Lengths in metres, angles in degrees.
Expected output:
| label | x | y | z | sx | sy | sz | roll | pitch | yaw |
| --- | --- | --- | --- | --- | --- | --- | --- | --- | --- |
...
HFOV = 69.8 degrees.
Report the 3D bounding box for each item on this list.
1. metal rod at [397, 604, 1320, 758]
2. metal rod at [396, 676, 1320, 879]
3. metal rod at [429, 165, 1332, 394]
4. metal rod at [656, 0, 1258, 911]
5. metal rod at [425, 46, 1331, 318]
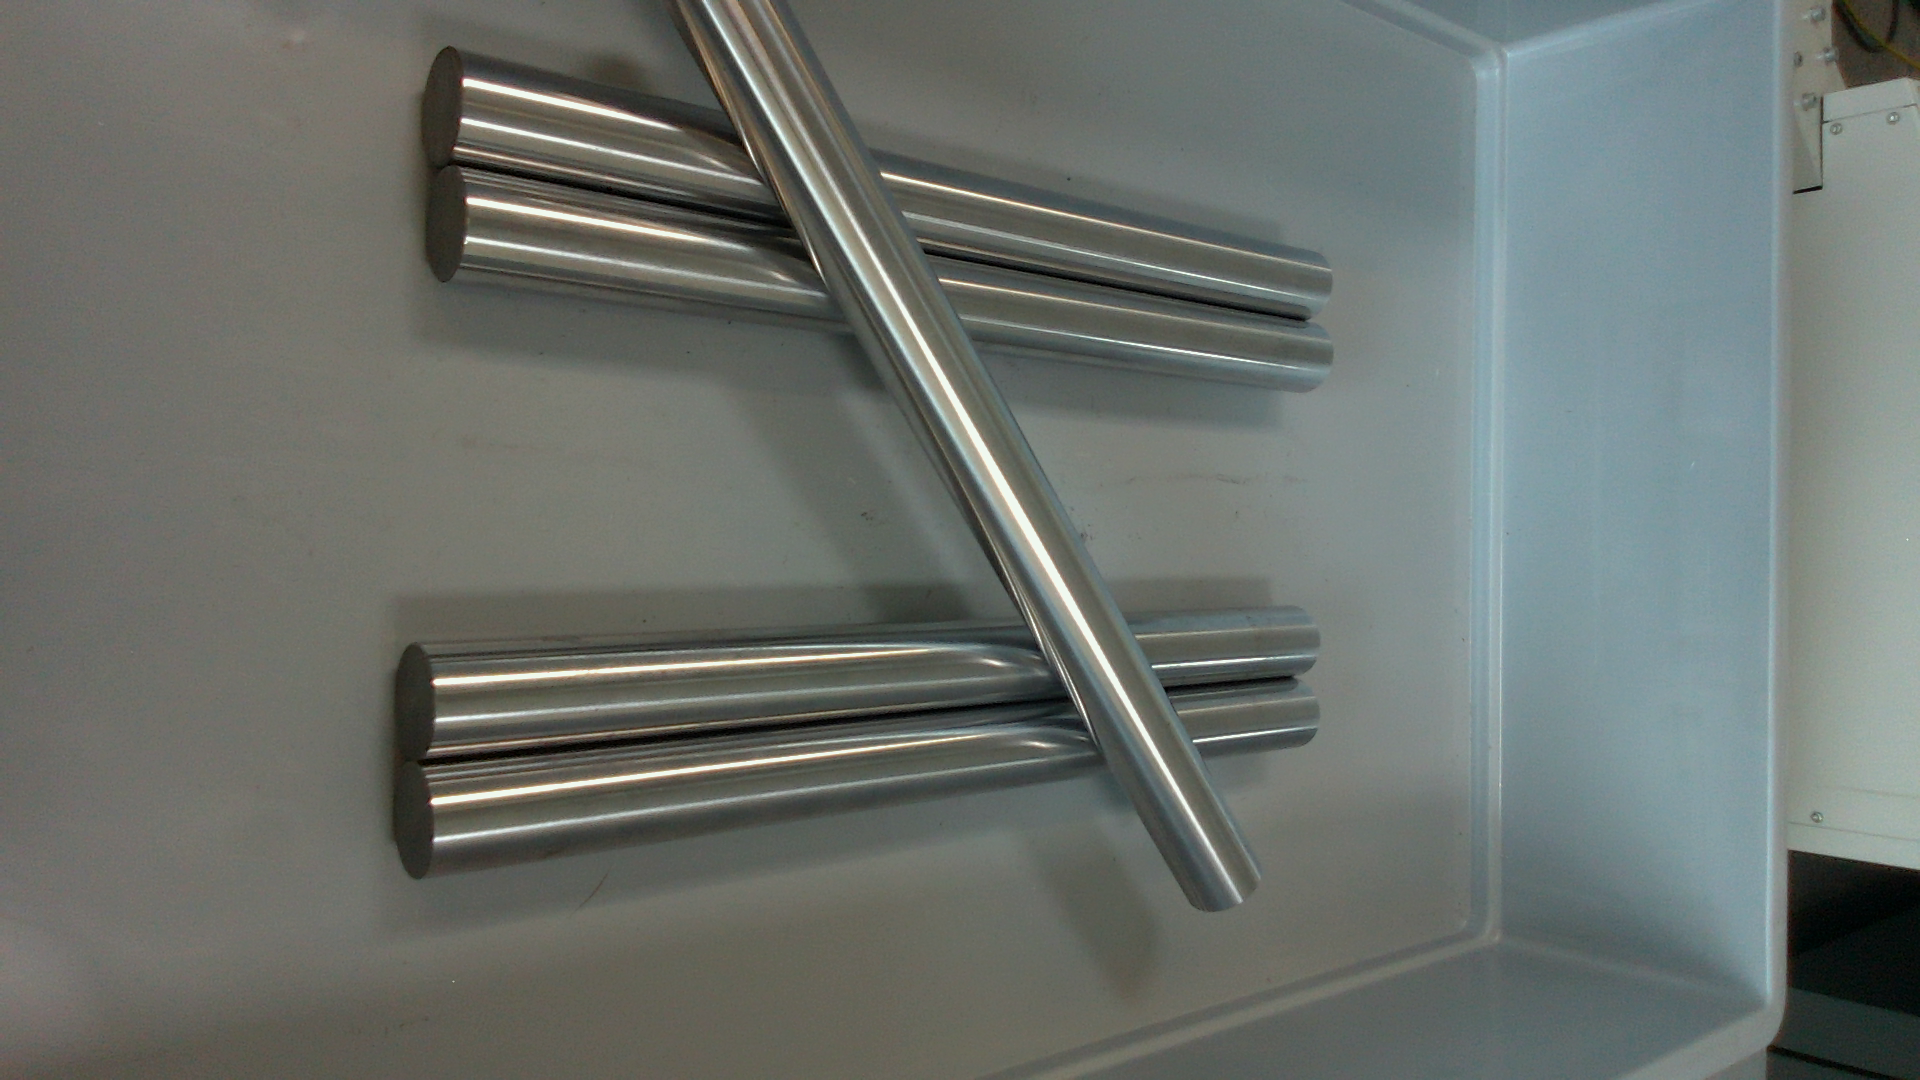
| label | x | y | z | sx | sy | sz | roll | pitch | yaw |
| --- | --- | --- | --- | --- | --- | --- | --- | --- | --- |
| metal rod | 0.001 | 0.034 | 0.387 | 0.301 | 0.025 | 0.025 | 0 | 90 | -40 |
| metal rod | 0.000 | 0.059 | 0.387 | 0.301 | 0.025 | 0.025 | 0 | 90 | -40 |
| metal rod | 0.006 | -0.066 | 0.392 | 0.301 | 0.025 | 0.025 | 1 | 90 | -40 |
| metal rod | 0.009 | -0.015 | 0.363 | 0.025 | 0.025 | 0.300 | -45 | 117 | -30 |
| metal rod | 0.005 | -0.091 | 0.391 | 0.301 | 0.025 | 0.025 | 1 | 90 | -40 |
